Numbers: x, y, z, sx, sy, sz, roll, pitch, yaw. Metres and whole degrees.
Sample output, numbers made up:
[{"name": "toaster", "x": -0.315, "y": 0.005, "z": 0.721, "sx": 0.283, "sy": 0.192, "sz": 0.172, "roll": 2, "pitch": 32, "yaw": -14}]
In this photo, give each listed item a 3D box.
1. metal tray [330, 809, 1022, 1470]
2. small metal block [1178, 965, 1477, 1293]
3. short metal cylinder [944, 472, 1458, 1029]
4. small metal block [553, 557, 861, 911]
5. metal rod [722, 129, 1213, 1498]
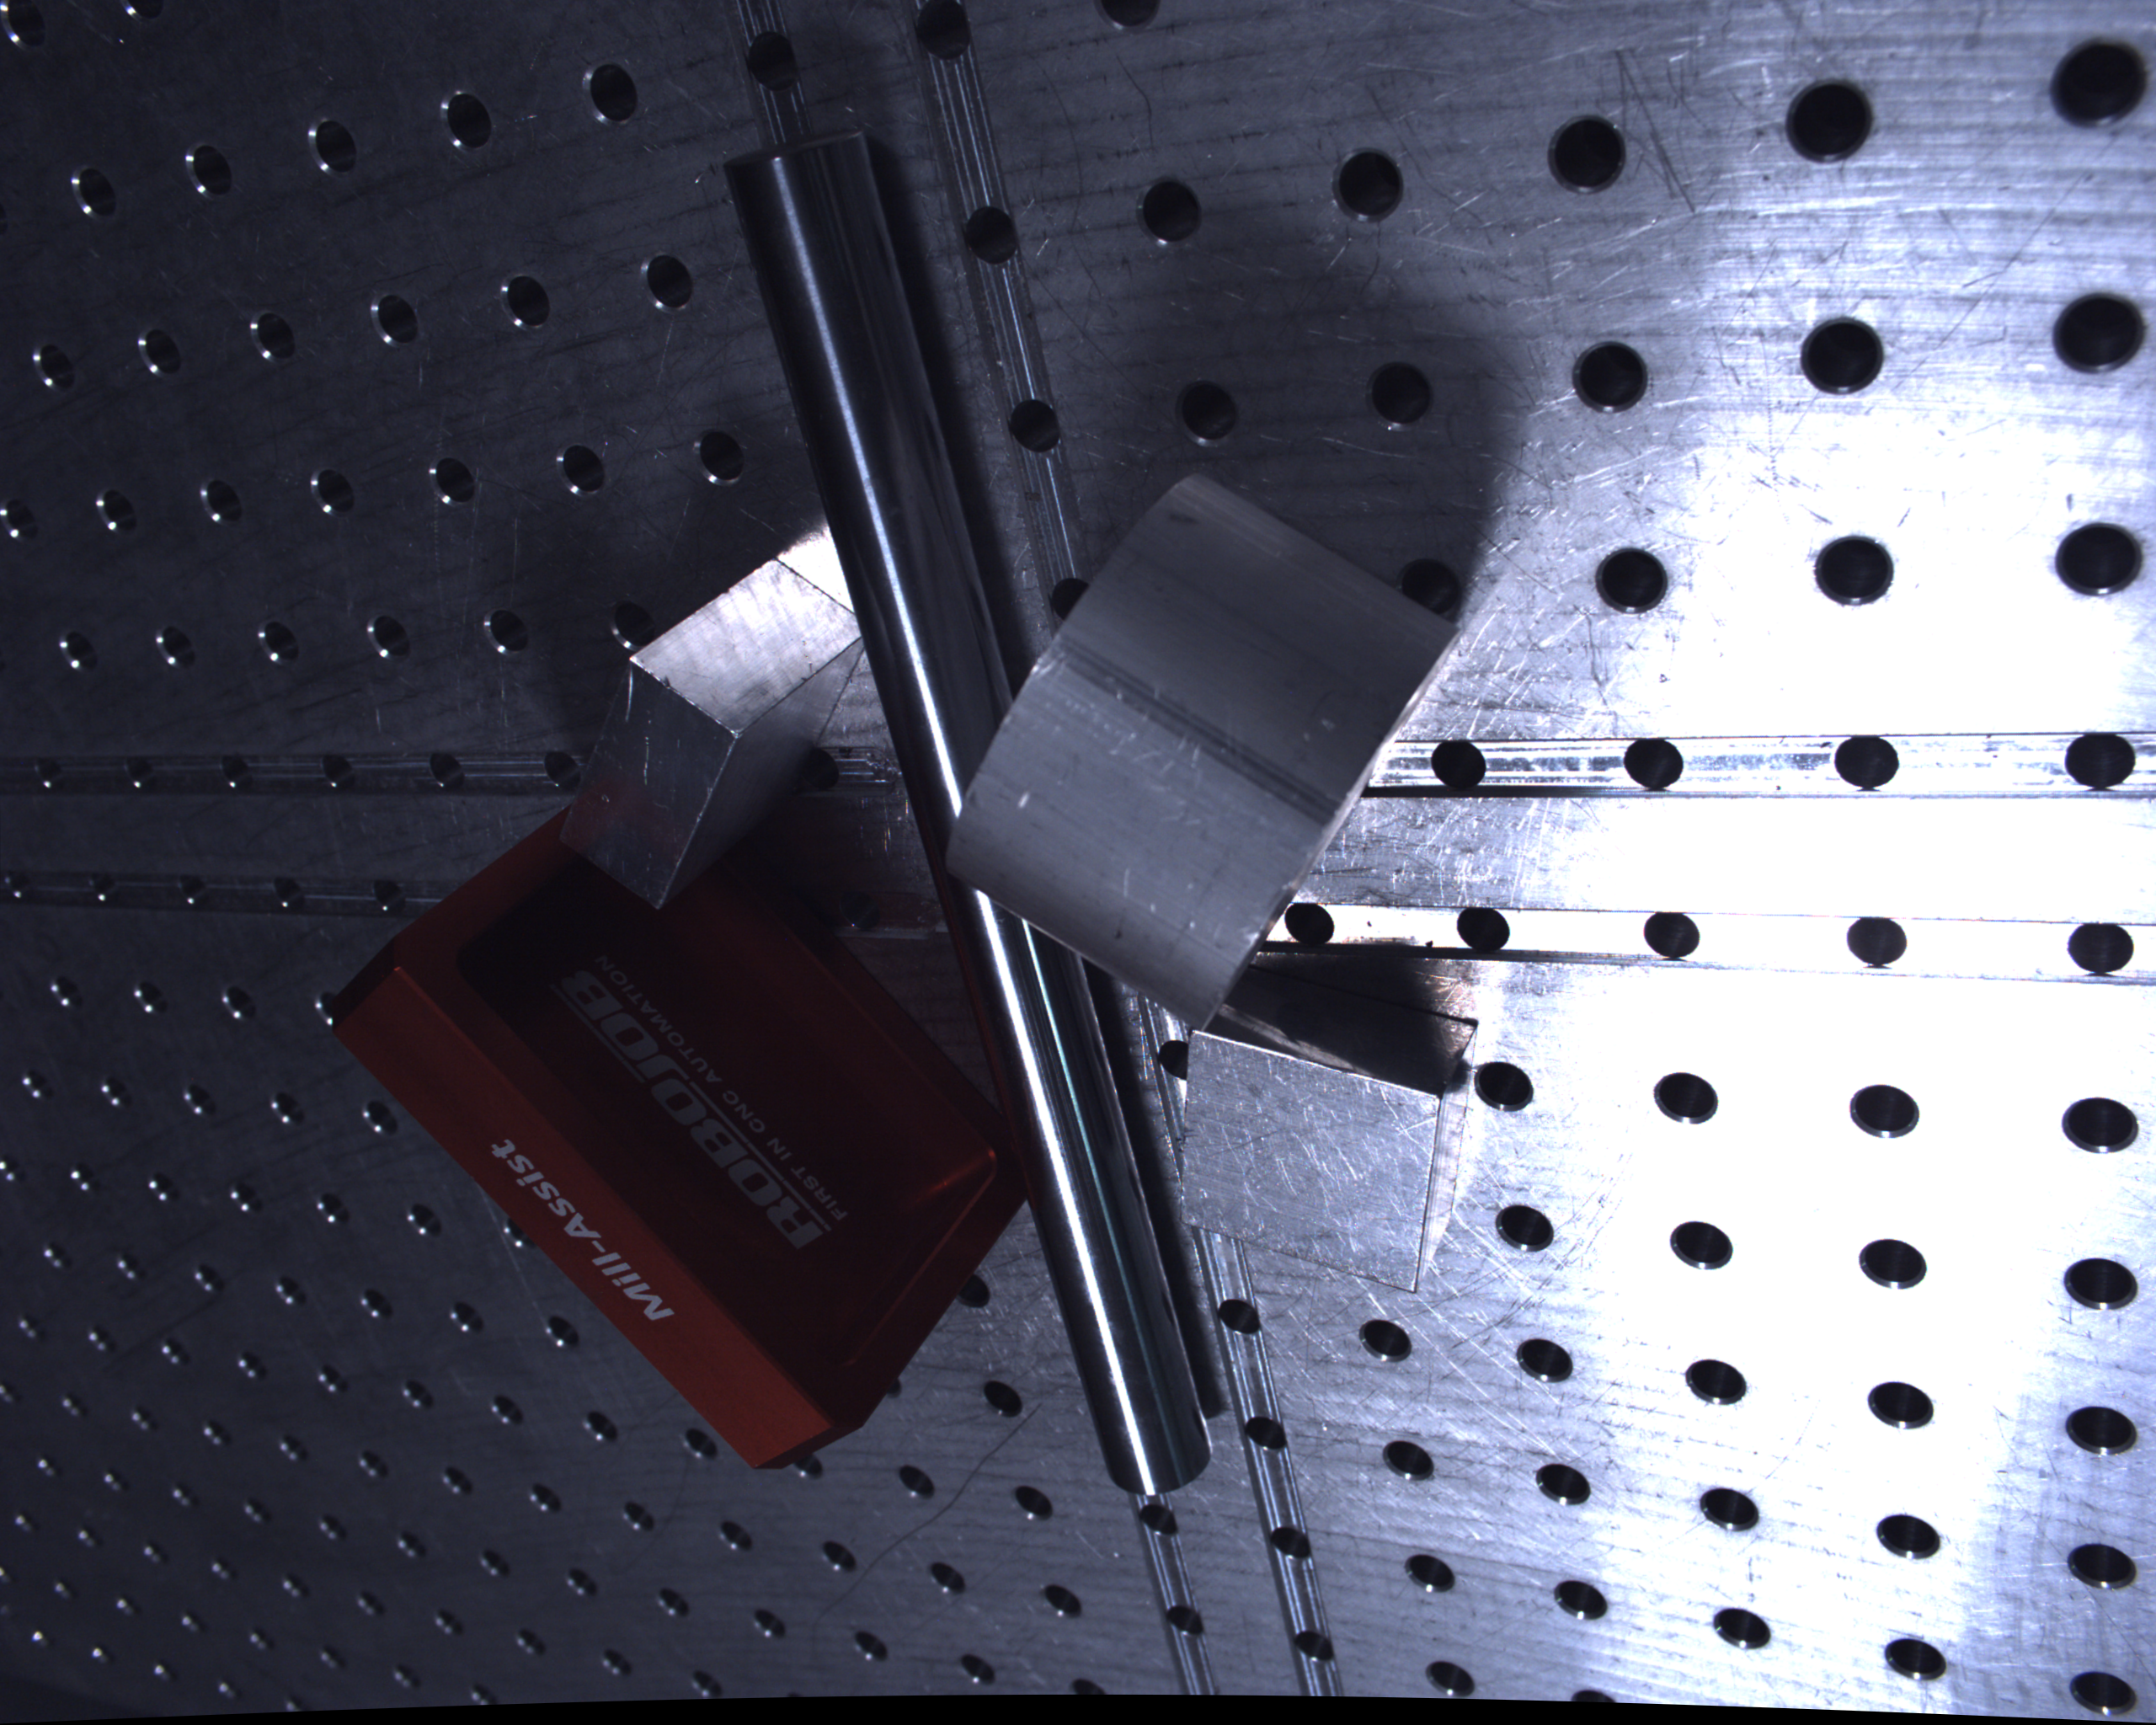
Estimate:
[{"name": "metal tray", "x": -0.078, "y": 0.050, "z": 0.438, "sx": 0.130, "sy": 0.090, "sz": 0.030, "roll": 48, "pitch": 129, "yaw": -6}, {"name": "small metal block", "x": 0.049, "y": 0.052, "z": 0.417, "sx": 0.050, "sy": 0.025, "sz": 0.050, "roll": 14, "pitch": 124, "yaw": 20}, {"name": "short metal cylinder", "x": 0.021, "y": -0.018, "z": 0.352, "sx": 0.050, "sy": 0.080, "sz": 0.079, "roll": 33, "pitch": 129, "yaw": 6}, {"name": "small metal block", "x": -0.073, "y": -0.026, "z": 0.414, "sx": 0.025, "sy": 0.050, "sz": 0.050, "roll": 36, "pitch": 129, "yaw": 4}, {"name": "metal rod", "x": -0.015, "y": 0.008, "z": 0.422, "sx": 0.025, "sy": 0.025, "sz": 0.298, "roll": 0, "pitch": 119, "yaw": 28}]
